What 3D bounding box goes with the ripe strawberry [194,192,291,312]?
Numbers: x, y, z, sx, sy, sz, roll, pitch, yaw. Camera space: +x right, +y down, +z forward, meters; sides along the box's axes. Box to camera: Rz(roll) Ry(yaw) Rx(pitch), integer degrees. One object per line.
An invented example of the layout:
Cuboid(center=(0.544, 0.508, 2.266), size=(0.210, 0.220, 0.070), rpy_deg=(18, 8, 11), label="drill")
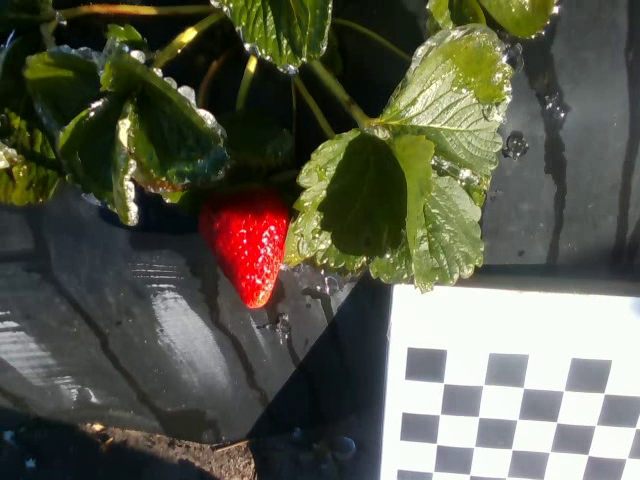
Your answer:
Cuboid(center=(-0.030, 0.005, 0.245), size=(0.041, 0.053, 0.047), rpy_deg=(-3, -14, 6), label="ripe strawberry")
